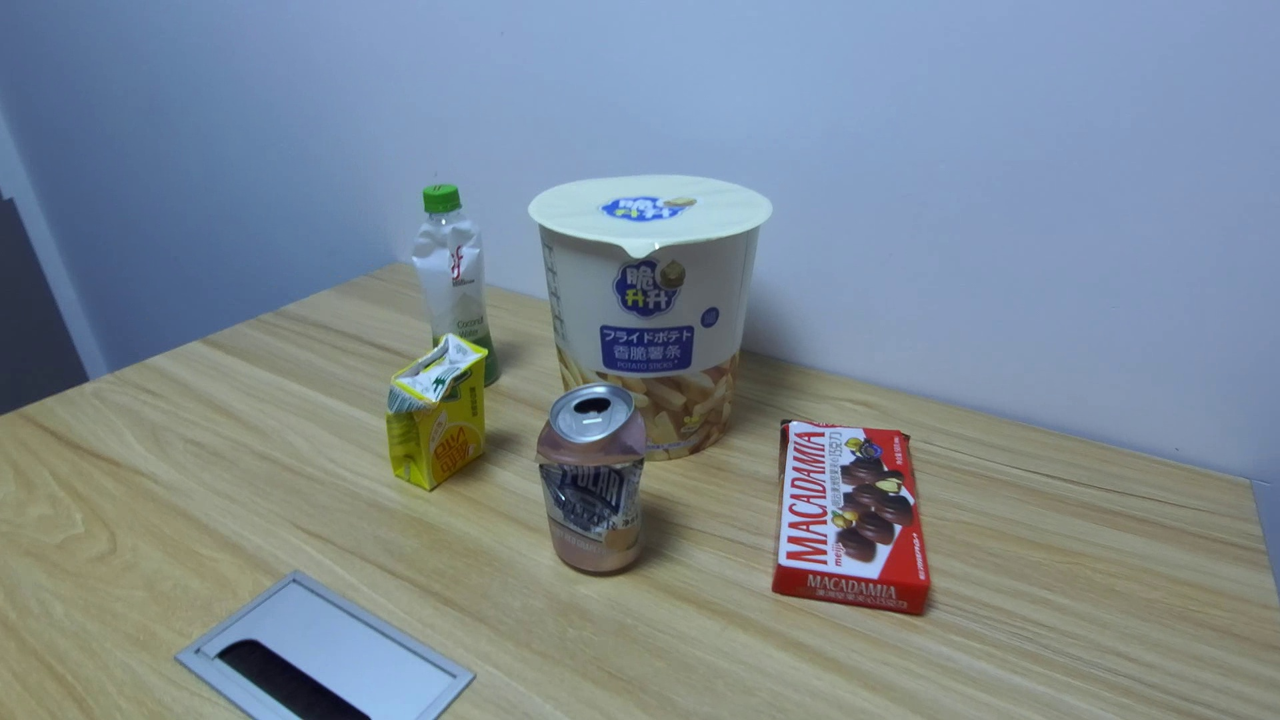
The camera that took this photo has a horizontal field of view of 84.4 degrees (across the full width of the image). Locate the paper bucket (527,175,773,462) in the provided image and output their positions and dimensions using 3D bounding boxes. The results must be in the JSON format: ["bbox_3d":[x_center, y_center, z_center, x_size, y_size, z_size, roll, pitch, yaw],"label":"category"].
[{"bbox_3d":[0.010,-0.037,0.596,0.198,0.195,0.198,0,28,1],"label":"paper bucket"}]

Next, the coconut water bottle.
[{"bbox_3d":[-0.172,-0.066,0.661,0.069,0.186,0.069,0,28,0],"label":"coconut water bottle"}]

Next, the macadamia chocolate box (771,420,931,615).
[{"bbox_3d":[0.151,0.102,0.515,0.105,0.028,0.183,6,28,11],"label":"macadamia chocolate box"}]

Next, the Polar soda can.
[{"bbox_3d":[-0.031,0.080,0.462,0.071,0.122,0.066,-7,33,-11],"label":"Polar soda can"}]

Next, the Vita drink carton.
[{"bbox_3d":[-0.155,0.043,0.549,0.042,0.108,0.087,29,42,22],"label":"Vita drink carton"}]
